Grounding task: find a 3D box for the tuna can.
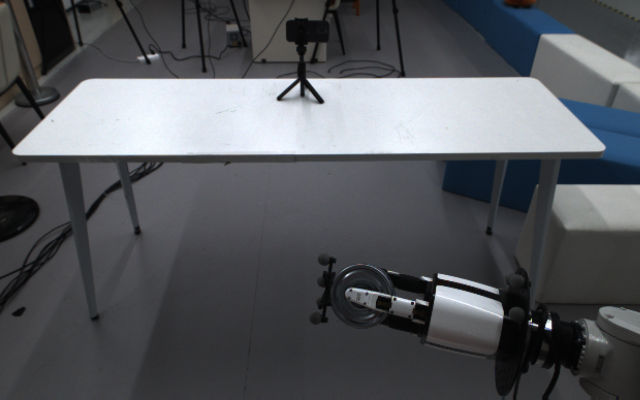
[{"bbox_3d":[0.060,0.130,0.644,0.085,0.085,0.034,10,-6,11],"label":"tuna can"}]
